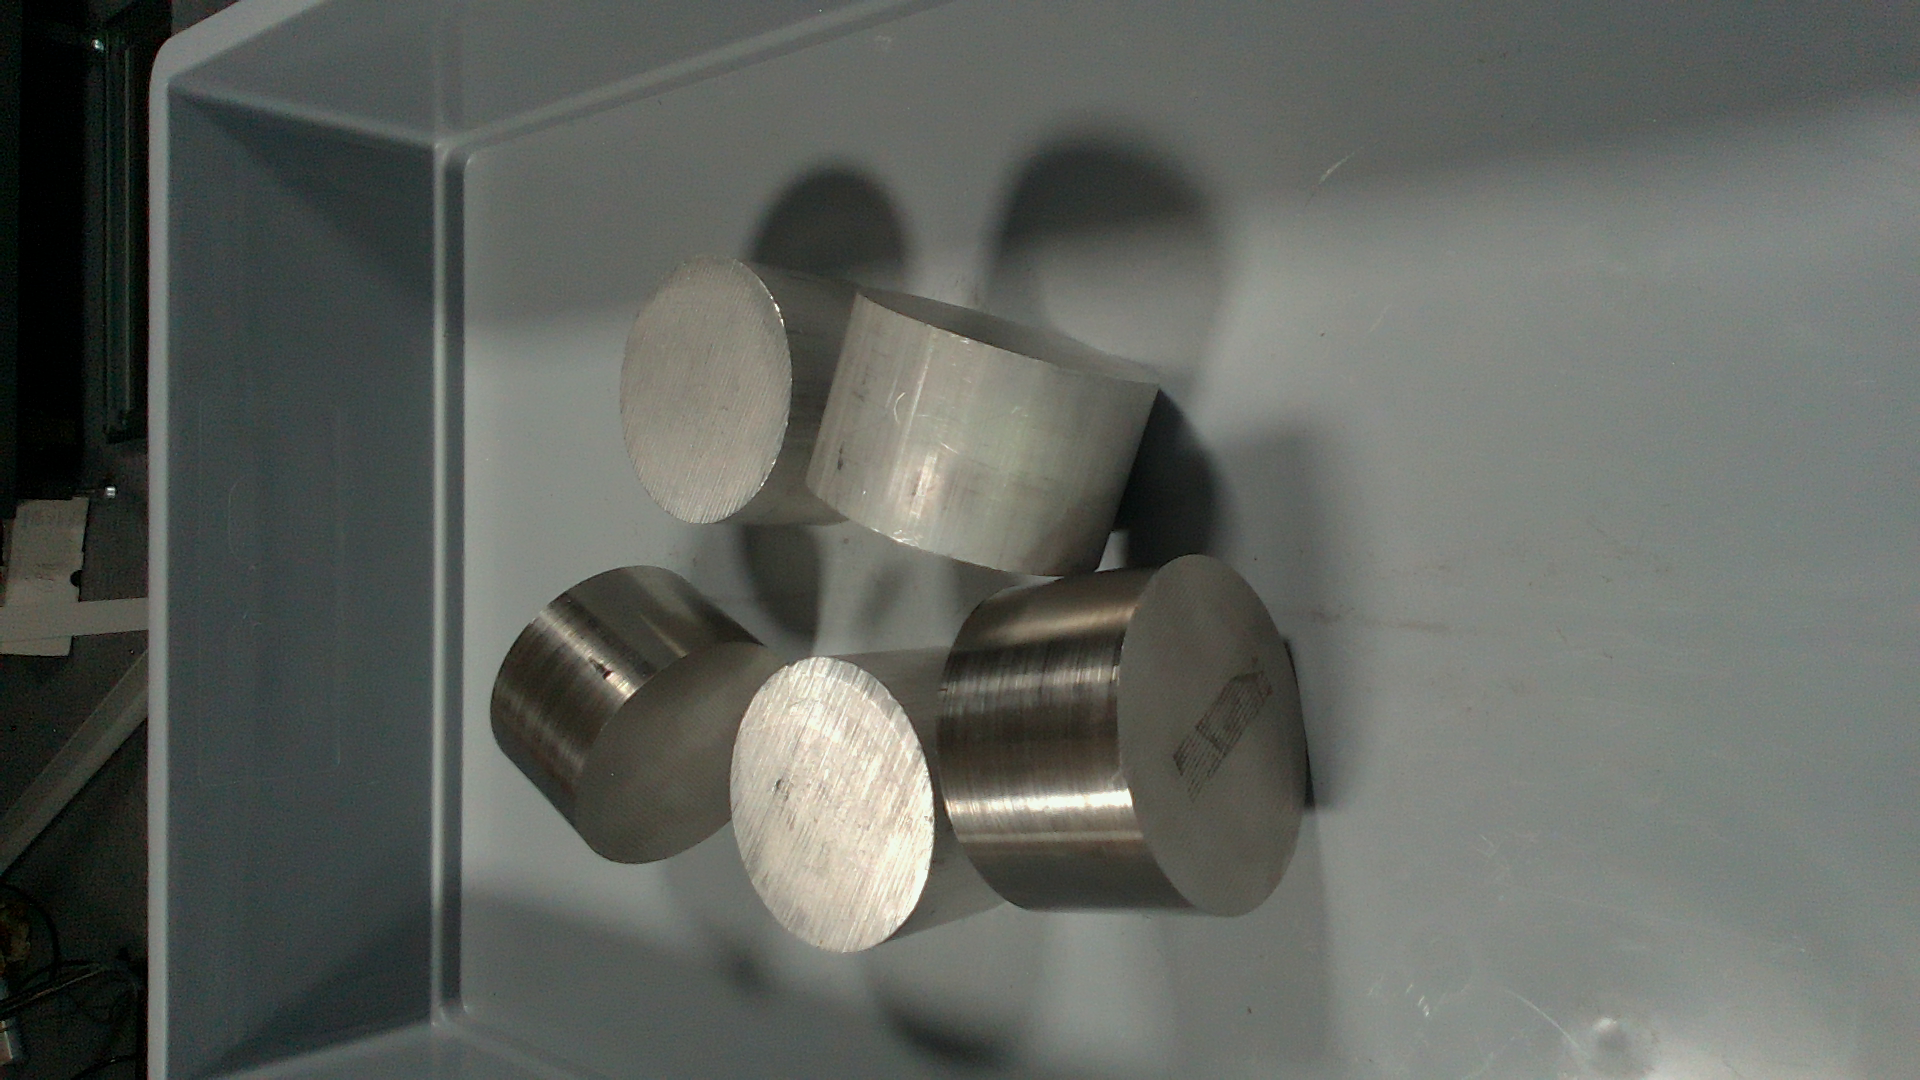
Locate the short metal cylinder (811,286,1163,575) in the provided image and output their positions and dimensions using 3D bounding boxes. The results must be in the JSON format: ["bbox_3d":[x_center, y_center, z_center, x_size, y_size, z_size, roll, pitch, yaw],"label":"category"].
[{"bbox_3d":[0.006,-0.029,0.354,0.080,0.080,0.050,27,107,37],"label":"short metal cylinder"}]

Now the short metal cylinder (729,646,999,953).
[{"bbox_3d":[-0.021,0.072,0.394,0.080,0.050,0.080,0,90,40],"label":"short metal cylinder"}]

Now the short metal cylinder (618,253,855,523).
[{"bbox_3d":[-0.062,-0.045,0.428,0.080,0.050,0.080,0,90,40],"label":"short metal cylinder"}]

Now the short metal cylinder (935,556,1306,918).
[{"bbox_3d":[0.040,0.047,0.324,0.050,0.080,0.080,-12,82,40],"label":"short metal cylinder"}]

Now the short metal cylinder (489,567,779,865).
[{"bbox_3d":[-0.101,0.056,0.442,0.050,0.080,0.080,33,111,35],"label":"short metal cylinder"}]
